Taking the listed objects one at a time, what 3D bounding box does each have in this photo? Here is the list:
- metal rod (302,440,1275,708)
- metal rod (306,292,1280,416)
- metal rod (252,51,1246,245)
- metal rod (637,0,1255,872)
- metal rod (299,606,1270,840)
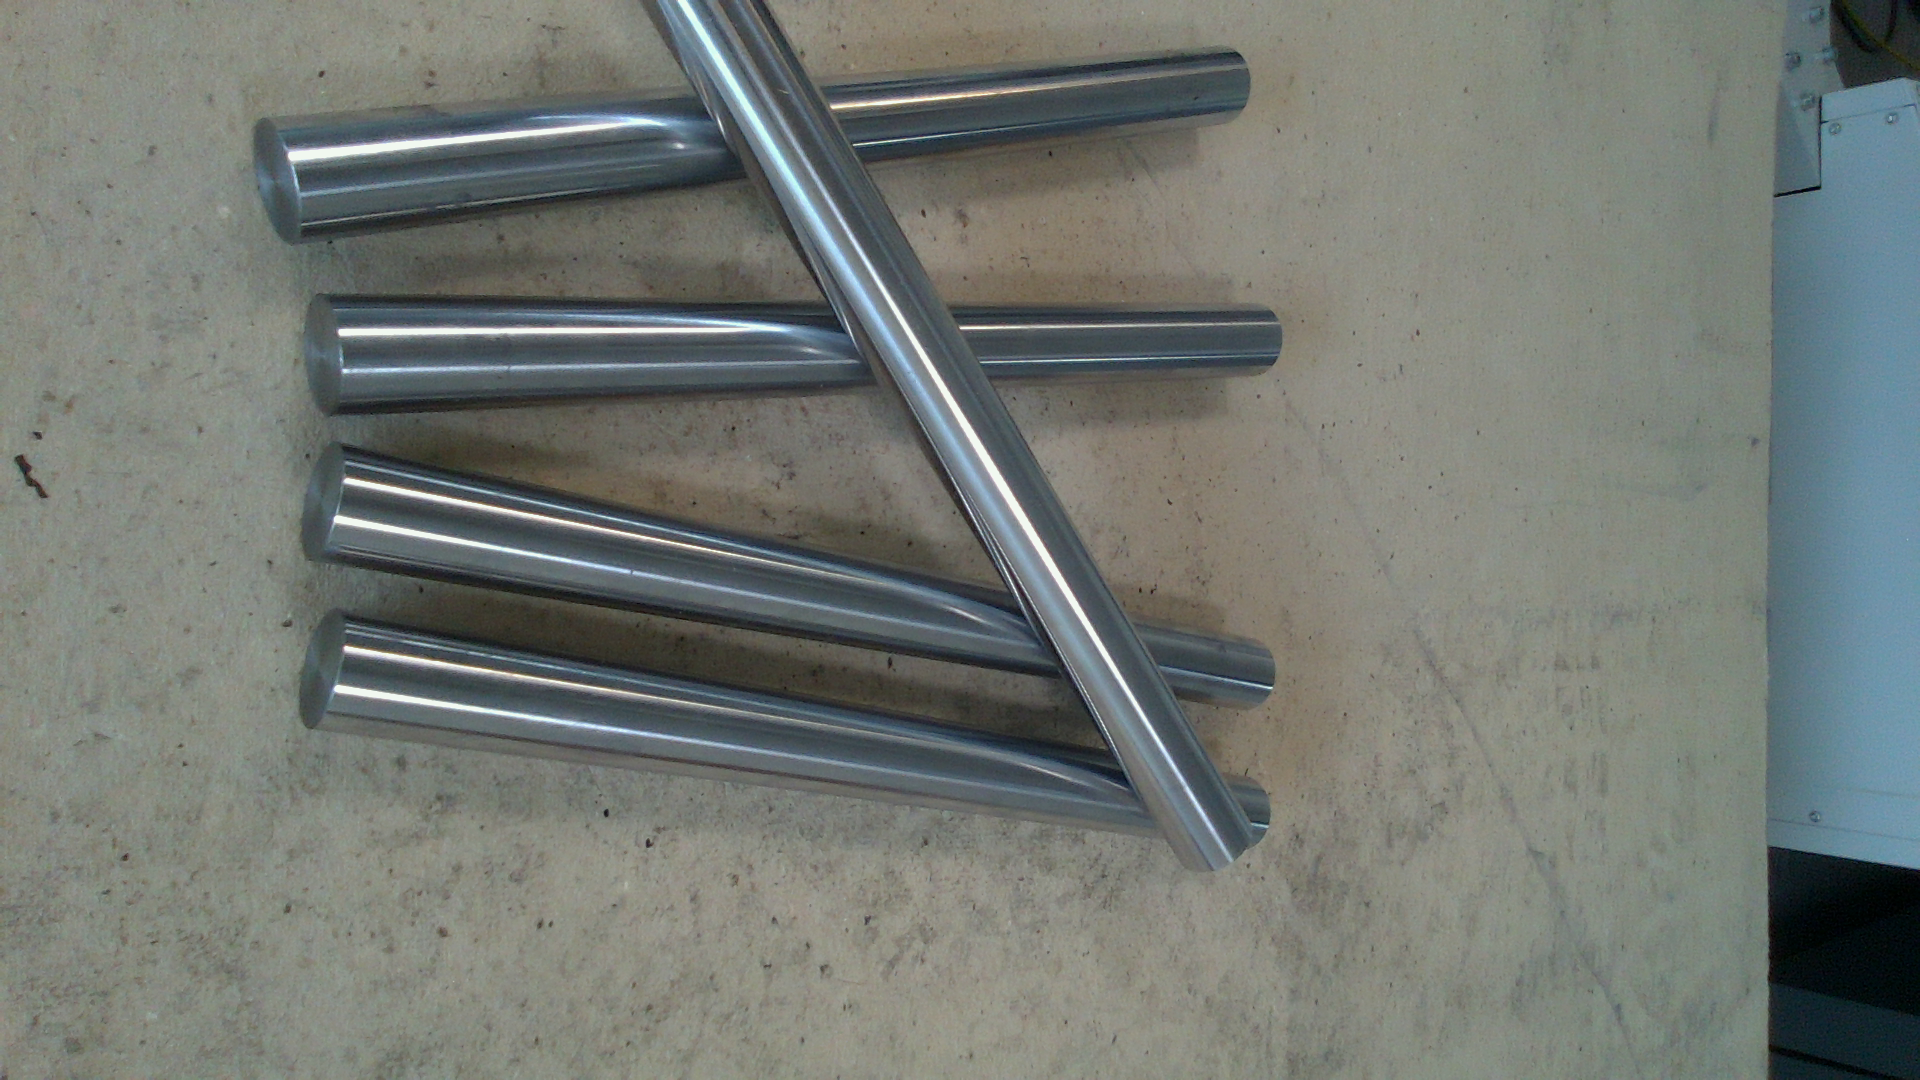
[{"bbox_3d":[-0.016,0.019,0.375,0.301,0.025,0.025,13,82,-39],"label":"metal rod"},{"bbox_3d":[-0.015,-0.053,0.377,0.301,0.025,0.025,-8,95,-40],"label":"metal rod"},{"bbox_3d":[-0.026,-0.112,0.368,0.301,0.025,0.025,-20,102,-38],"label":"metal rod"},{"bbox_3d":[0.004,-0.024,0.360,0.025,0.025,0.300,-47,118,-29],"label":"metal rod"},{"bbox_3d":[-0.017,0.059,0.374,0.301,0.025,0.025,16,80,-39],"label":"metal rod"}]
